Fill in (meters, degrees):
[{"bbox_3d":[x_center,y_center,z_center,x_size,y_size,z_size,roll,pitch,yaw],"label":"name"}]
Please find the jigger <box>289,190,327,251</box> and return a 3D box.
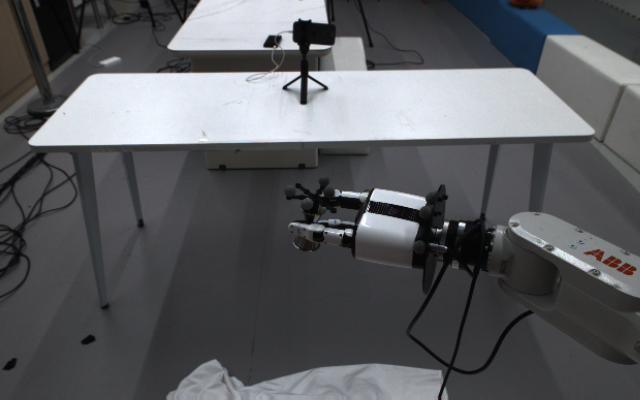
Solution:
[{"bbox_3d":[-0.016,0.039,0.748,0.043,0.071,0.043,9,30,-5],"label":"jigger"}]
